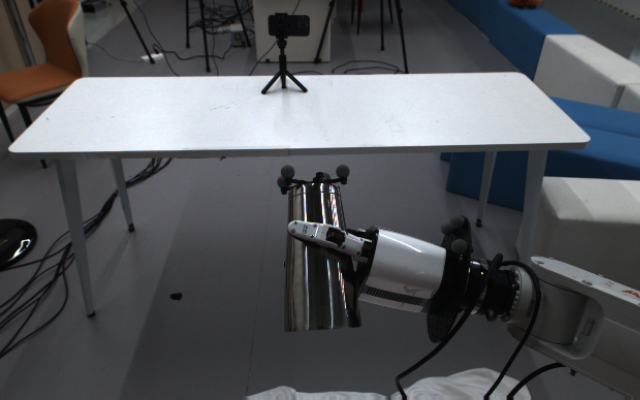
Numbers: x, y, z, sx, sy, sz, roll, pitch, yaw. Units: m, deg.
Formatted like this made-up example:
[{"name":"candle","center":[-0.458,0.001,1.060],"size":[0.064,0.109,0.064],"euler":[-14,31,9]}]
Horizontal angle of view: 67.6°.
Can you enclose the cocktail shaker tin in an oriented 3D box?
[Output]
[{"name":"cocktail shaker tin","center":[-0.001,0.071,0.591],"size":[0.093,0.093,0.170],"euler":[-3,76,-7]}]
